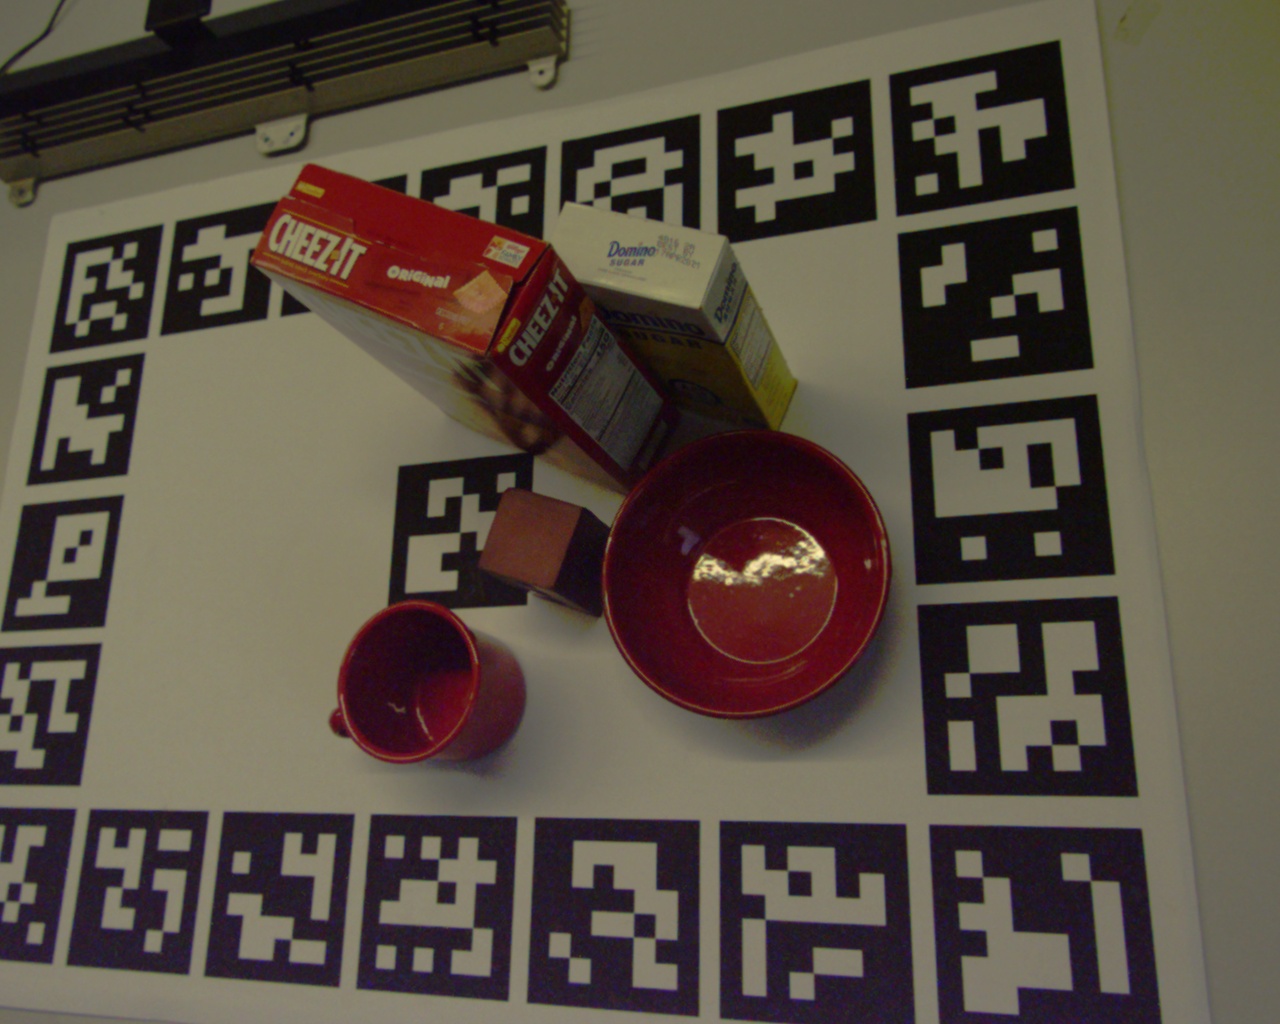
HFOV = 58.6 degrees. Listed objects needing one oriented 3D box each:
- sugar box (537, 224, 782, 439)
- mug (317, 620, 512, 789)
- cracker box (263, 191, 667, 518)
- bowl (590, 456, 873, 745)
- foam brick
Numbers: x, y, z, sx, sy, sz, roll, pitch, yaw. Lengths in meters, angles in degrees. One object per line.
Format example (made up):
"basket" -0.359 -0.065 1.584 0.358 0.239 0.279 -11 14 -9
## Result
"sugar box" 0.016 -0.099 0.658 0.094 0.174 0.045 18 81 24
"mug" -0.141 0.125 0.701 0.118 0.080 0.093 -14 62 19
"cracker box" -0.095 -0.083 0.677 0.166 0.211 0.072 27 83 24
"bowl" 0.055 0.052 0.654 0.163 0.054 0.162 -6 73 20
"foam brick" -0.059 0.032 0.708 0.053 0.077 0.051 12 78 24
